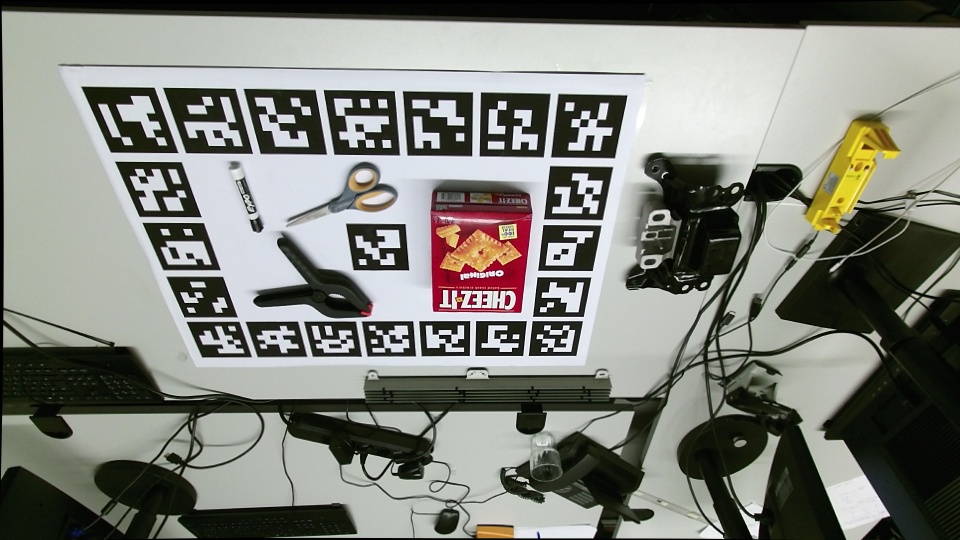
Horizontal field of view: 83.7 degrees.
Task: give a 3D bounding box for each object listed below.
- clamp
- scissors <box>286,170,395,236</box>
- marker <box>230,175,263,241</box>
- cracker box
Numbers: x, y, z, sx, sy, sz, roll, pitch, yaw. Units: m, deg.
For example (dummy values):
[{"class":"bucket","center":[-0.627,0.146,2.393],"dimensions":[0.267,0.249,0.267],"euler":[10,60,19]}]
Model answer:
[{"class":"clamp","center":[-0.294,0.052,1.002],"dimensions":[0.203,0.036,0.165],"euler":[26,124,-20]},{"class":"scissors","center":[-0.238,-0.094,0.886],"dimensions":[0.203,0.016,0.088],"euler":[-22,127,17]},{"class":"marker","center":[-0.380,-0.098,0.876],"dimensions":[0.020,0.019,0.121],"euler":[-3,128,-1]},{"class":"cracker box","center":[-0.006,-0.014,0.927],"dimensions":[0.165,0.071,0.213],"euler":[1,127,-4]}]
